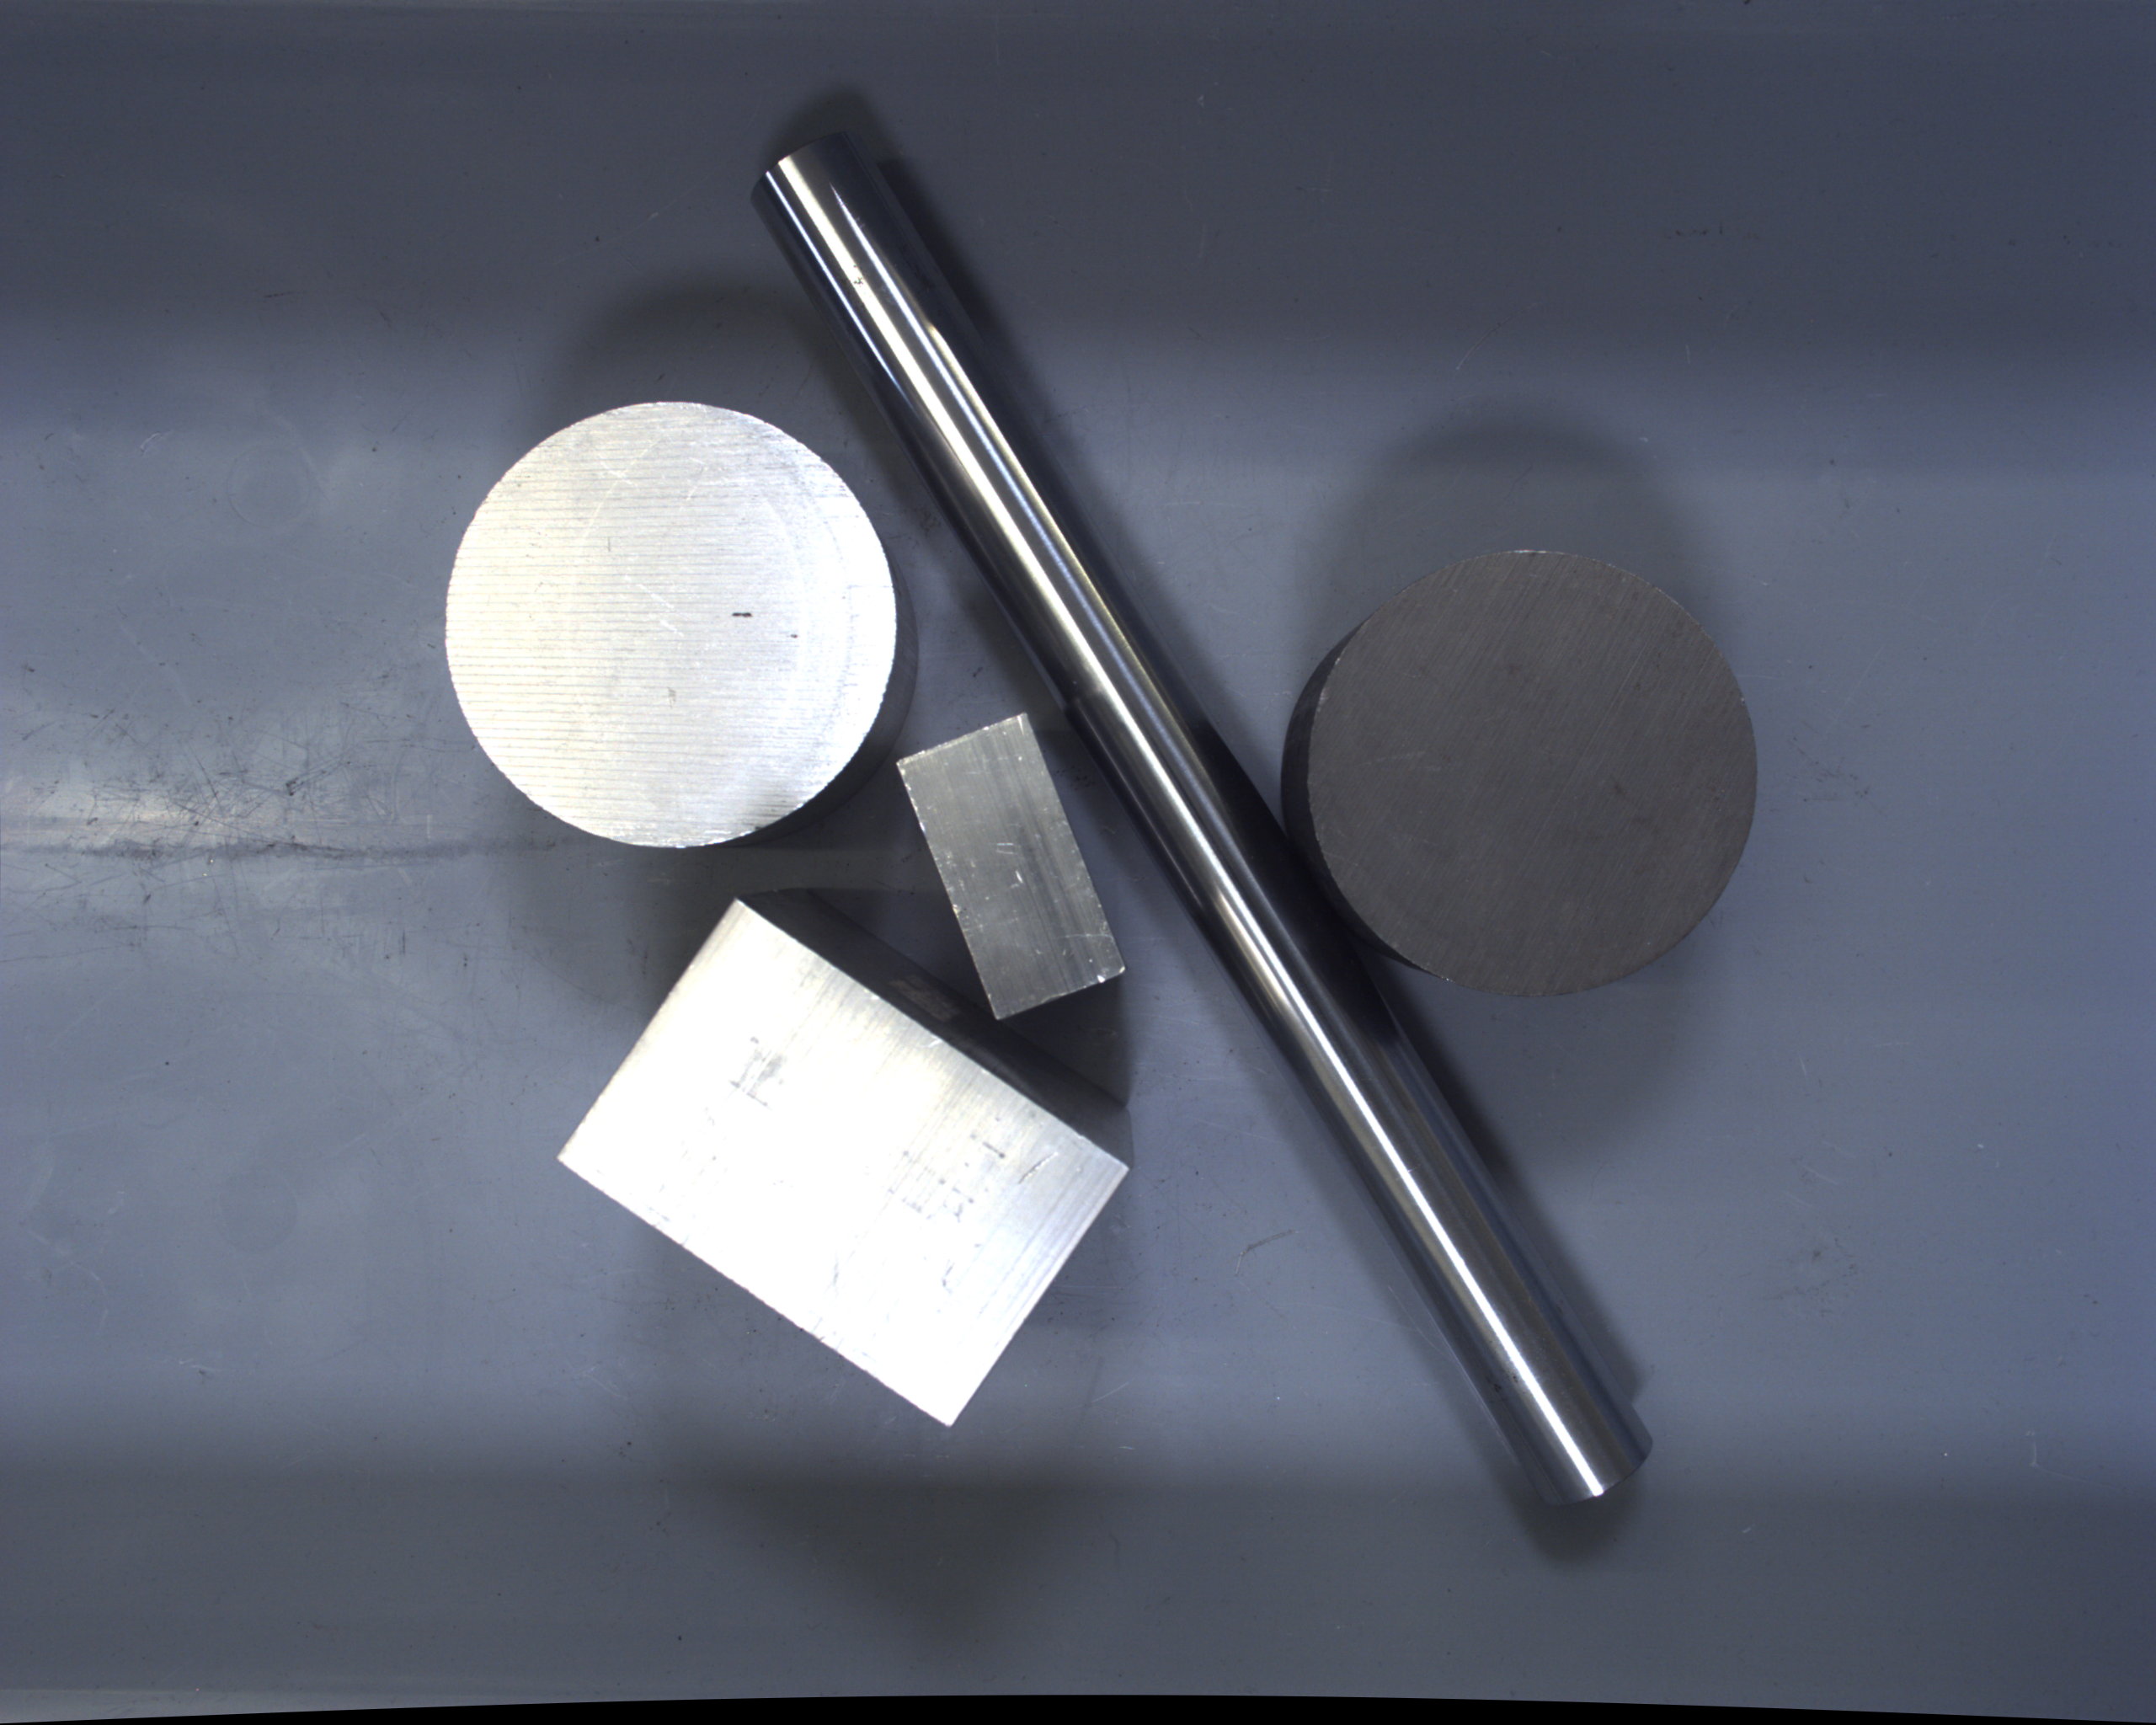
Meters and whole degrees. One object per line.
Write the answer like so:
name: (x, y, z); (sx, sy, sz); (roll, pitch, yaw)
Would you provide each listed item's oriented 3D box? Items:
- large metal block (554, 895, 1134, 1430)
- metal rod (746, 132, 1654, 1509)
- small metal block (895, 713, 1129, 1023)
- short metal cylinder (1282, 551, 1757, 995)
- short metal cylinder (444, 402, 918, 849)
large metal block: (-0.038, 0.050, 0.381); (0.080, 0.080, 0.050); (34, 91, 0)
metal rod: (0.024, -0.008, 0.410); (0.025, 0.025, 0.299); (-31, 90, 0)
small metal block: (-0.012, 0.001, 0.397); (0.025, 0.050, 0.050); (-21, 90, 0)
short metal cylinder: (0.081, -0.016, 0.398); (0.081, 0.050, 0.079); (0, 90, 0)
short metal cylinder: (-0.073, -0.042, 0.396); (0.081, 0.050, 0.079); (0, 90, 0)
